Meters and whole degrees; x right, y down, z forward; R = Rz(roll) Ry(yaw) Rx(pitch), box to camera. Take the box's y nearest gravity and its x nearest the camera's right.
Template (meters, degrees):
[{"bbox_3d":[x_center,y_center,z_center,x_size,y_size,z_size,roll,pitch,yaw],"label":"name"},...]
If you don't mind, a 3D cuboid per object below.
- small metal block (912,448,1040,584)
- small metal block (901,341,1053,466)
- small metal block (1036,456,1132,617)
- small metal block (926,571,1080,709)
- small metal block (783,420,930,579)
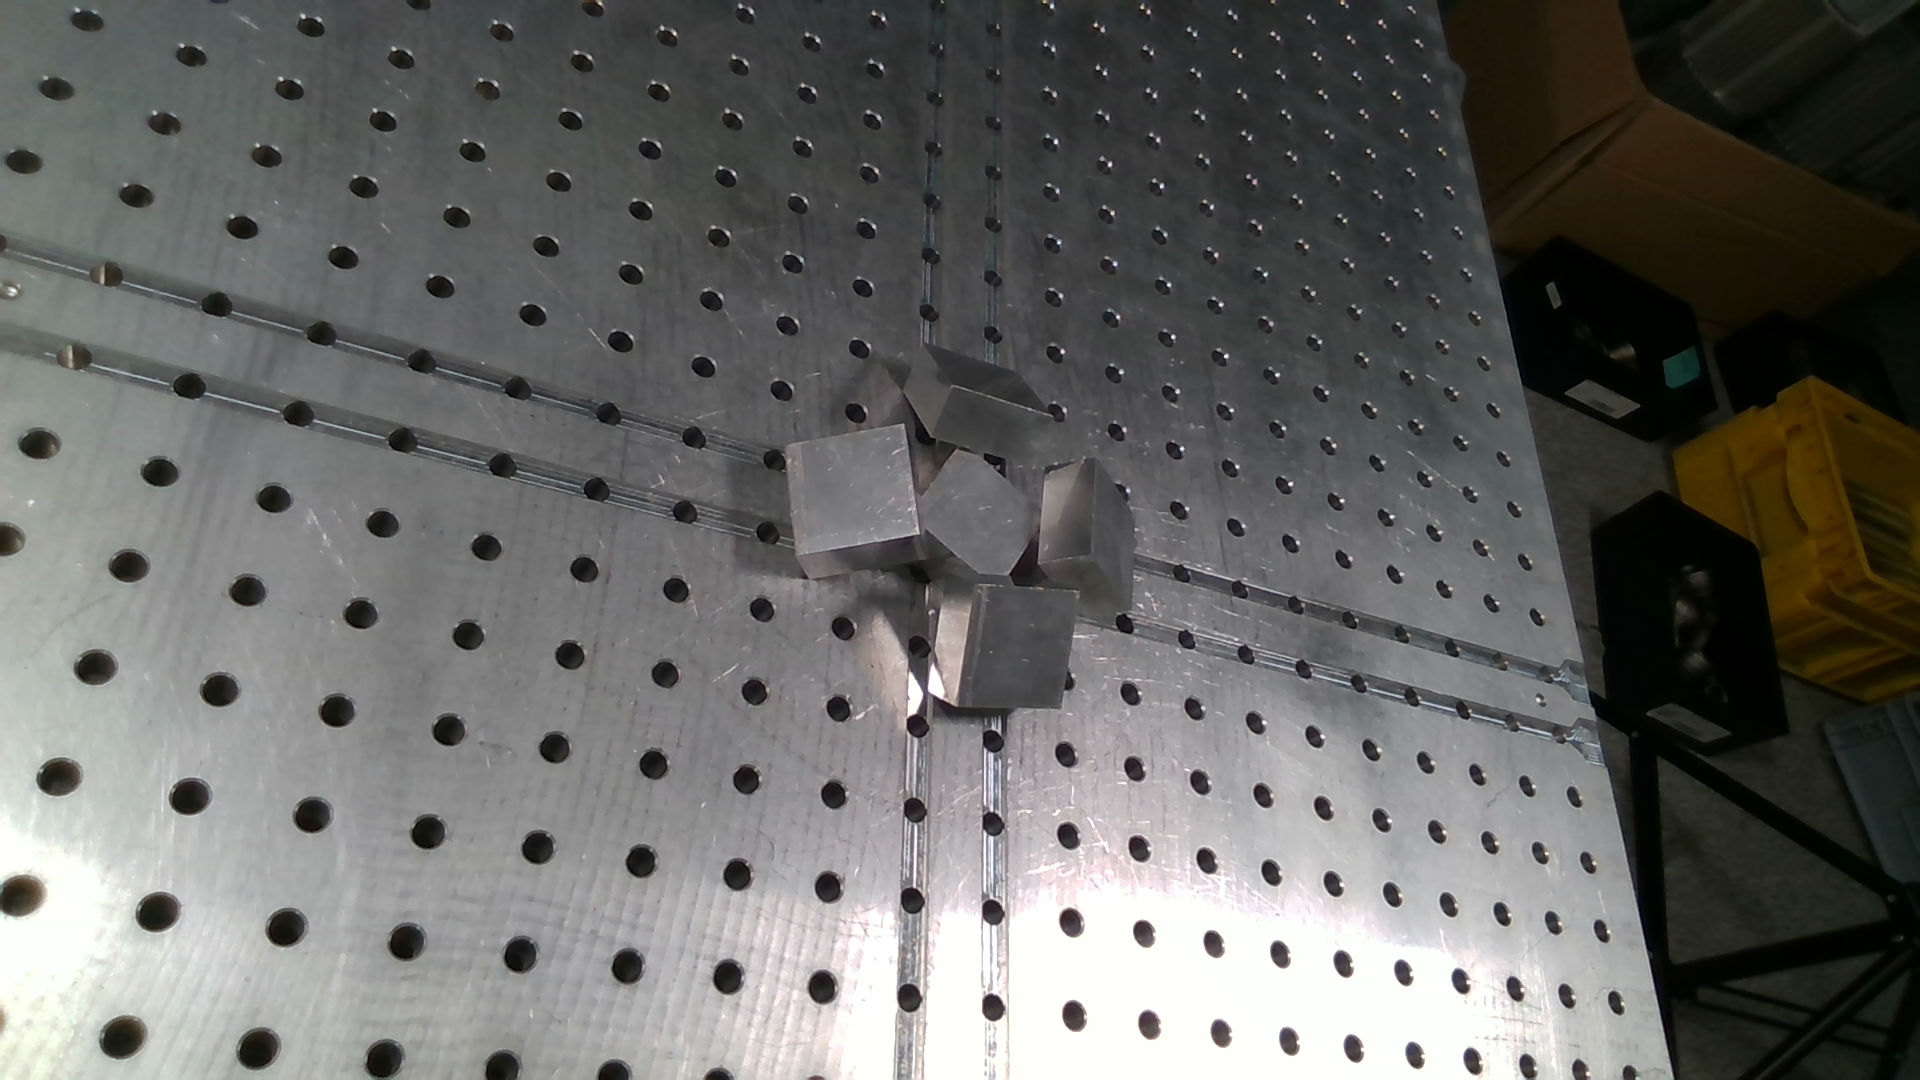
[{"bbox_3d":[0.002,-0.006,0.593,0.050,0.025,0.050,41,51,-7],"label":"small metal block"},{"bbox_3d":[0.007,-0.061,0.611,0.050,0.025,0.050,14,24,-25],"label":"small metal block"},{"bbox_3d":[0.056,-0.001,0.608,0.050,0.025,0.050,50,38,-49],"label":"small metal block"},{"bbox_3d":[0.018,0.041,0.563,0.050,0.025,0.050,5,98,-30],"label":"small metal block"},{"bbox_3d":[-0.042,-0.016,0.556,0.050,0.025,0.050,-10,66,3],"label":"small metal block"}]
